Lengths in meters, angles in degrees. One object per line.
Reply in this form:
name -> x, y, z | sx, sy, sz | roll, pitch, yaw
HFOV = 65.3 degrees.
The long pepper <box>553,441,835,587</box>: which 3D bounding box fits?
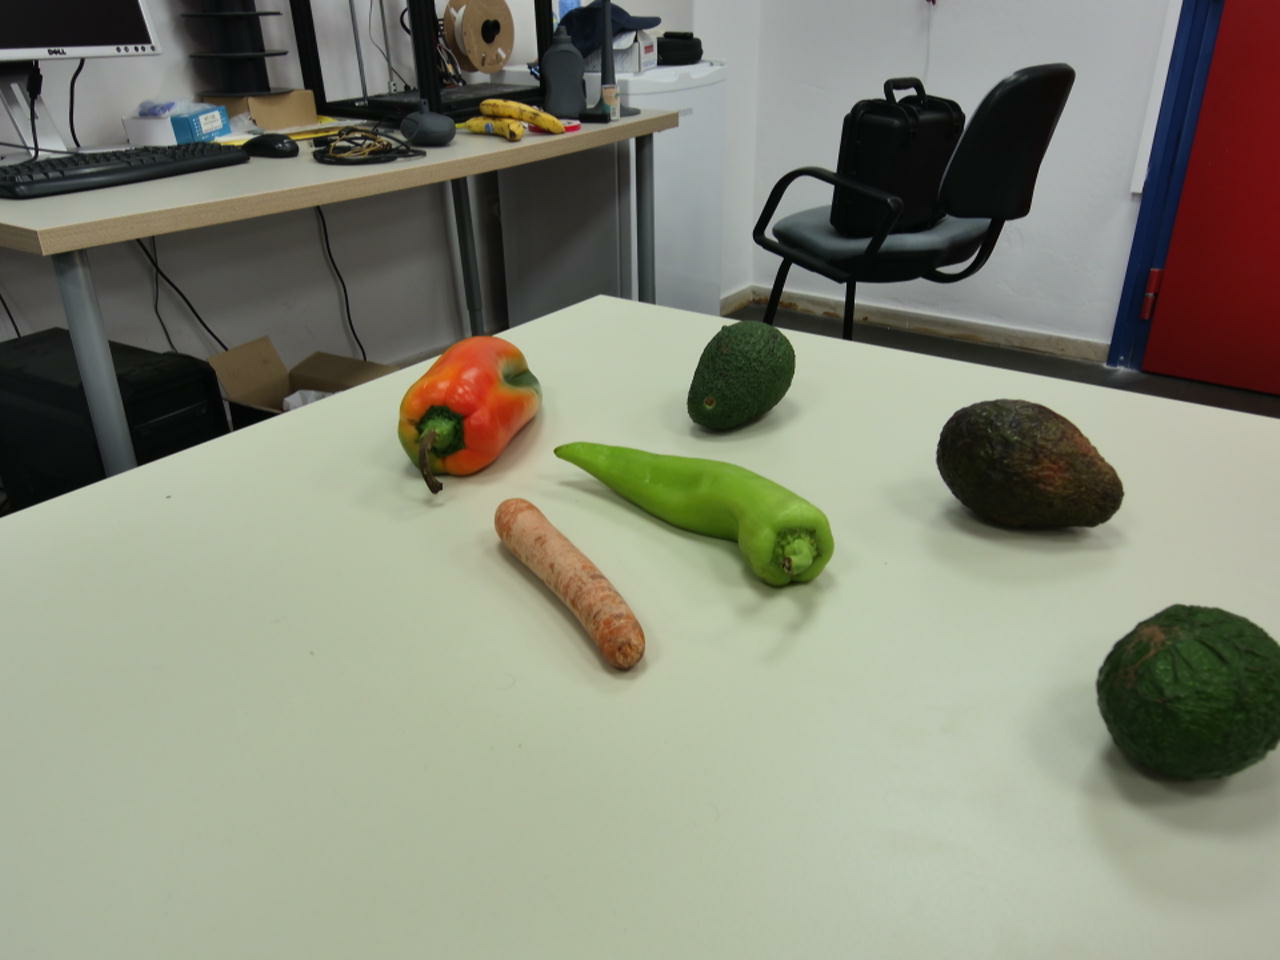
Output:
long pepper -> 0.034, 0.009, 0.556 | 0.065, 0.045, 0.205 | -17, 29, -33
